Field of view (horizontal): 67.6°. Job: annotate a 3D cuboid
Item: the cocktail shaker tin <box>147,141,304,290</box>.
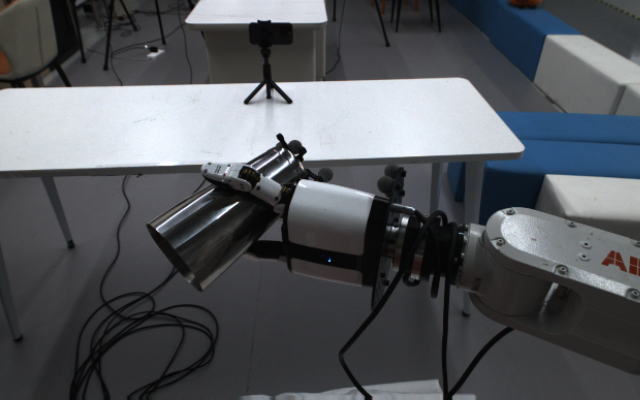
[{"bbox_3d":[-0.094,0.008,0.543,0.170,0.093,0.093,-38,49,-24],"label":"cocktail shaker tin"}]
